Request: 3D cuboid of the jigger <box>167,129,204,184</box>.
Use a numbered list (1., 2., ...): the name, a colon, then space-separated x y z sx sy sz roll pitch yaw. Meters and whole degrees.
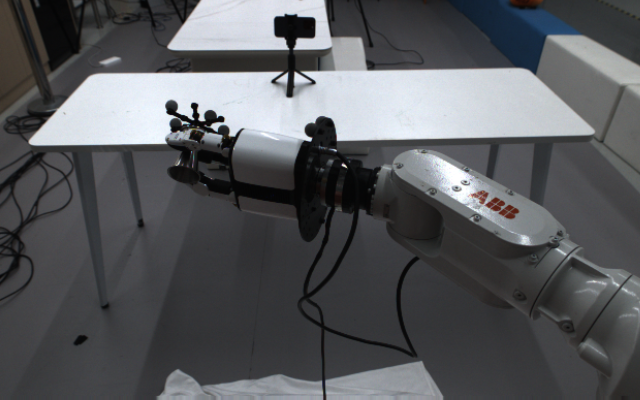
1. jigger: -0.179 -0.064 0.656 0.043 0.043 0.071 4 61 2
